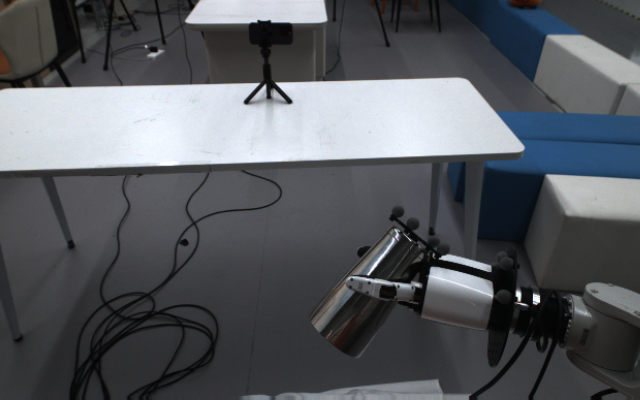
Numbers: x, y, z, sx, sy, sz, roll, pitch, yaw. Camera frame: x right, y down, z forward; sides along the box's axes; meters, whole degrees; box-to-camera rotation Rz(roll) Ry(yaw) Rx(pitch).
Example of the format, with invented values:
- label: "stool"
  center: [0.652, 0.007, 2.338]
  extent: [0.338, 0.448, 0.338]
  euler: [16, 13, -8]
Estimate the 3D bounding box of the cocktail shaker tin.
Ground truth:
- label: "cocktail shaker tin"
  center: [0.074, 0.118, 0.671]
  extent: [0.170, 0.093, 0.093]
  euler: [-50, 46, 4]
